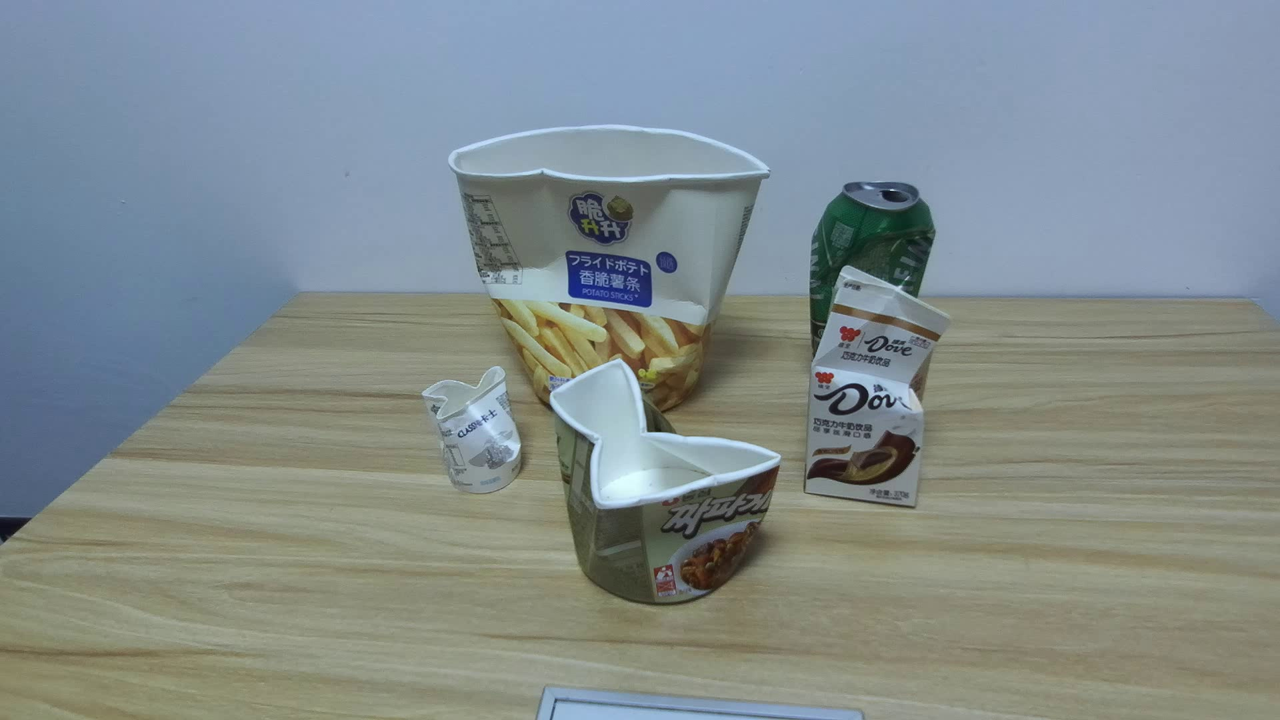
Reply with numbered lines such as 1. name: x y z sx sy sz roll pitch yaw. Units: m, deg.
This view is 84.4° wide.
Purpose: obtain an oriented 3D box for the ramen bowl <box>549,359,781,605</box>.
1. ramen bowl: 0.009 0.069 0.429 0.112 0.093 0.128 -15 35 -15

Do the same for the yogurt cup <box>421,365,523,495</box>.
1. yogurt cup: -0.116 0.050 0.502 0.055 0.072 0.055 -17 33 -17

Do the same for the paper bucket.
1. paper bucket: -0.023 -0.069 0.554 0.218 0.199 0.147 -9 34 -7

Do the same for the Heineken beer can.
1. Heineken beer can: 0.169 -0.051 0.540 0.077 0.164 0.066 19 38 28

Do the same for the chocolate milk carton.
1. chocolate milk carton: 0.147 0.012 0.449 0.076 0.156 0.073 6 36 14
